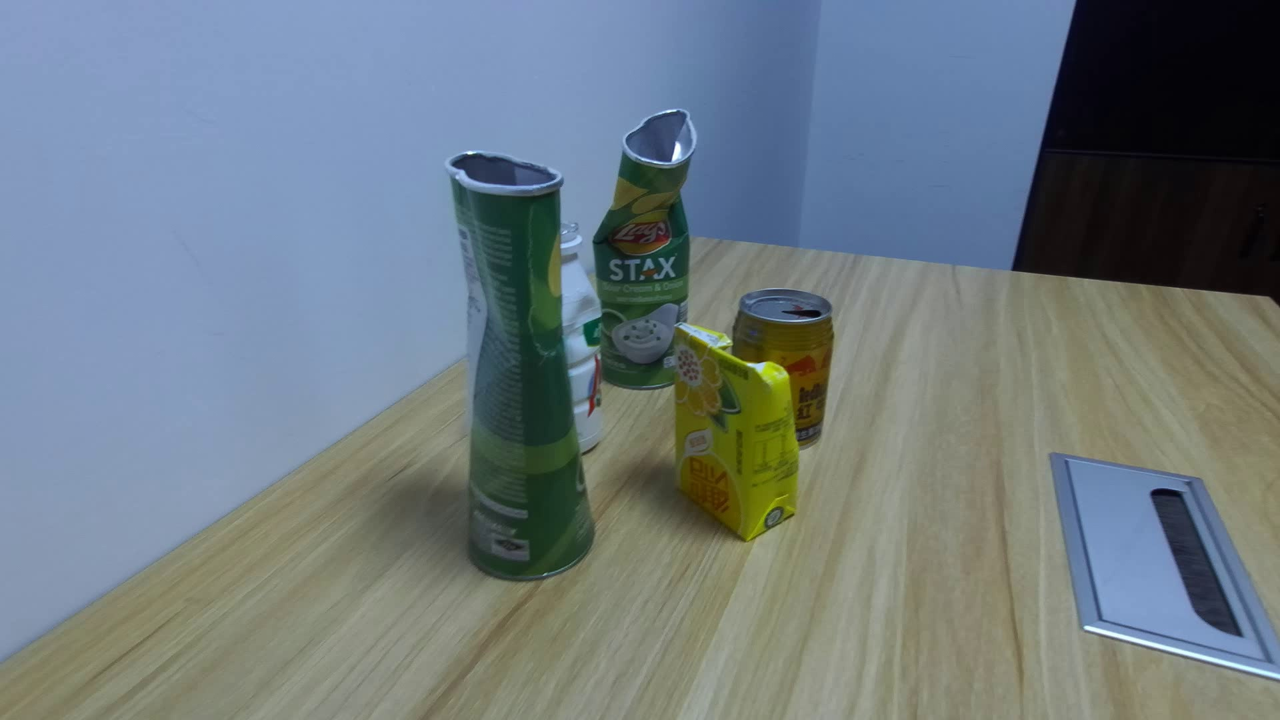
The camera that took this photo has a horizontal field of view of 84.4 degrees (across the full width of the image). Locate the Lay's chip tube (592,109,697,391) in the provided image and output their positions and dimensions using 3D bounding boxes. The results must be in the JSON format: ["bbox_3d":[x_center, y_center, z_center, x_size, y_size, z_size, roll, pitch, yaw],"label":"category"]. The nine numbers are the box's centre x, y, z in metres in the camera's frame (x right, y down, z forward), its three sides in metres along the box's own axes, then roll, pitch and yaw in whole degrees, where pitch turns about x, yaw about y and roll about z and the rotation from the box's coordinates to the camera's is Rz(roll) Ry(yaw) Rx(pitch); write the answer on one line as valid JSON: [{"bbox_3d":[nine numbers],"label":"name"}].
[{"bbox_3d":[0.009,-0.074,0.522,0.079,0.199,0.070,-18,39,-28],"label":"Lay's chip tube"}]

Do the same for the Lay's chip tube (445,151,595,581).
[{"bbox_3d":[-0.061,0.009,0.354,0.074,0.199,0.069,9,25,21],"label":"Lay's chip tube"}]

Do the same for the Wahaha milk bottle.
[{"bbox_3d":[-0.049,-0.012,0.447,0.055,0.149,0.055,1,25,0],"label":"Wahaha milk bottle"}]

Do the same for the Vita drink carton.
[{"bbox_3d":[0.055,0.035,0.393,0.046,0.110,0.071,-19,32,-30],"label":"Vita drink carton"}]

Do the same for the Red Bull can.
[{"bbox_3d":[0.094,0.006,0.475,0.067,0.093,0.067,1,23,0],"label":"Red Bull can"}]
